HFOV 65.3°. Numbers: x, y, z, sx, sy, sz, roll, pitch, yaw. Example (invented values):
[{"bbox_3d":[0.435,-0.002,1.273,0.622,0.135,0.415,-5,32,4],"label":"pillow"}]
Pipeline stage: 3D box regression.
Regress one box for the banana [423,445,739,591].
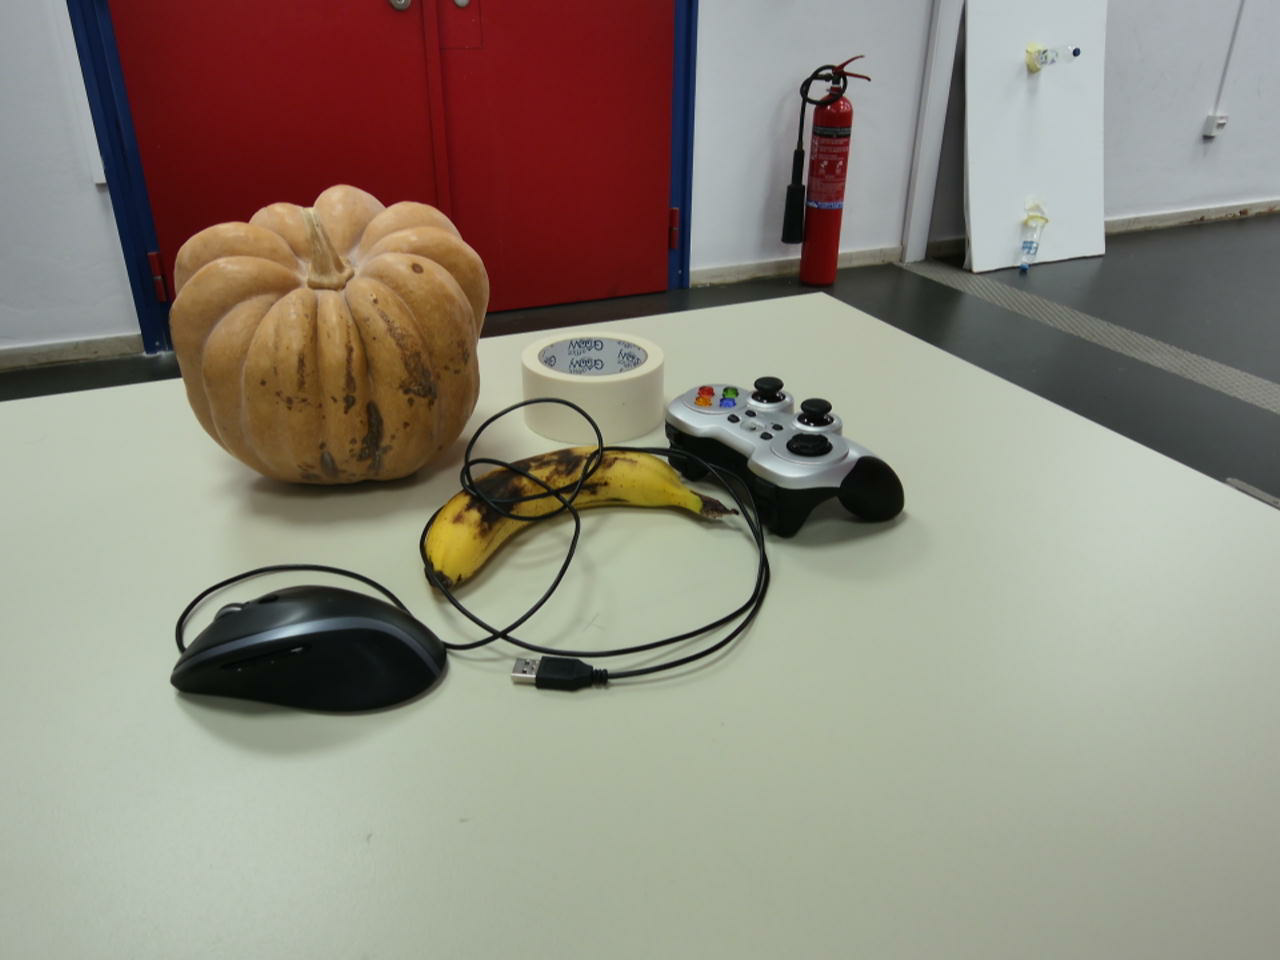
[{"bbox_3d":[-0.046,0.014,0.595,0.187,0.039,0.094,-12,29,-24],"label":"banana"}]
